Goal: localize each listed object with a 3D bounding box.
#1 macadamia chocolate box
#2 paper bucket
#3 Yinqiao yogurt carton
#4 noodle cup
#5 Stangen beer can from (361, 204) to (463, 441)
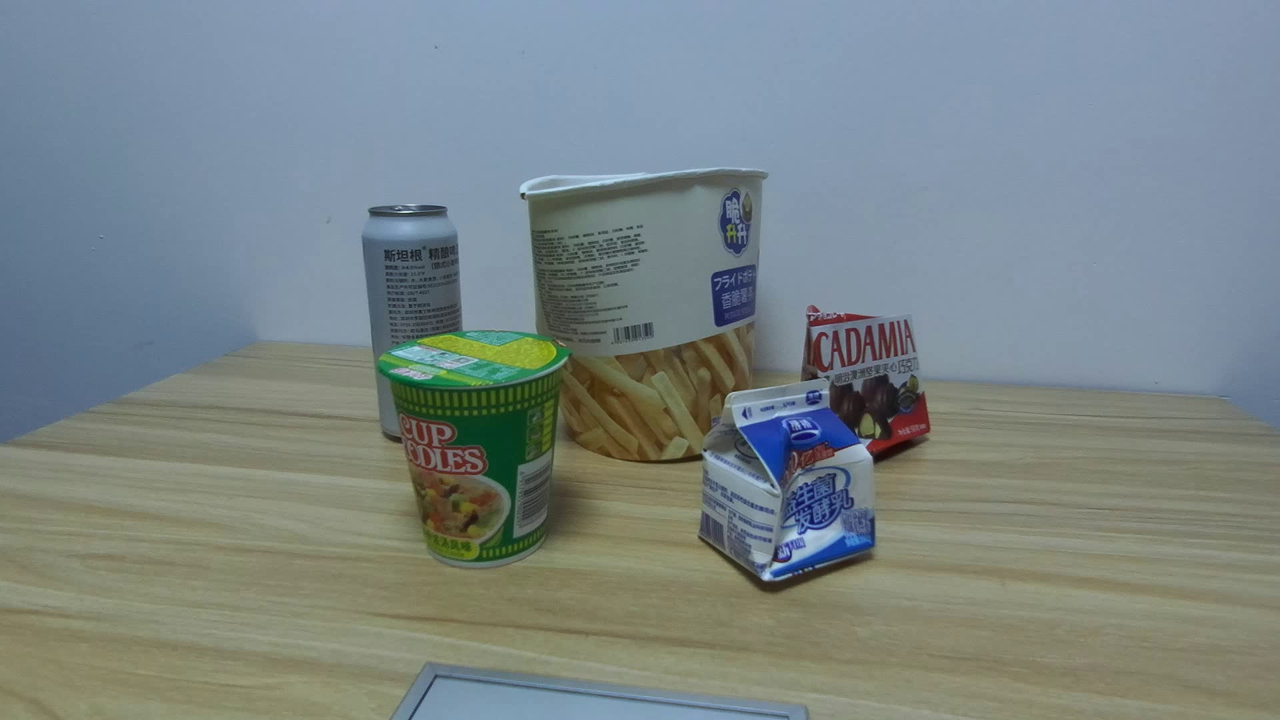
[{"bbox_3d":[0.160,0.013,0.511,0.127,0.112,0.056,-11,19,-34],"label":"macadamia chocolate box"},{"bbox_3d":[0.013,-0.042,0.532,0.147,0.199,0.218,4,17,12],"label":"paper bucket"},{"bbox_3d":[0.077,0.059,0.387,0.078,0.094,0.070,-8,13,-27],"label":"Yinqiao yogurt carton"},{"bbox_3d":[-0.086,0.049,0.388,0.097,0.110,0.097,0,16,0],"label":"noodle cup"},{"bbox_3d":[-0.166,-0.027,0.527,0.067,0.171,0.067,0,15,0],"label":"Stangen beer can"}]
